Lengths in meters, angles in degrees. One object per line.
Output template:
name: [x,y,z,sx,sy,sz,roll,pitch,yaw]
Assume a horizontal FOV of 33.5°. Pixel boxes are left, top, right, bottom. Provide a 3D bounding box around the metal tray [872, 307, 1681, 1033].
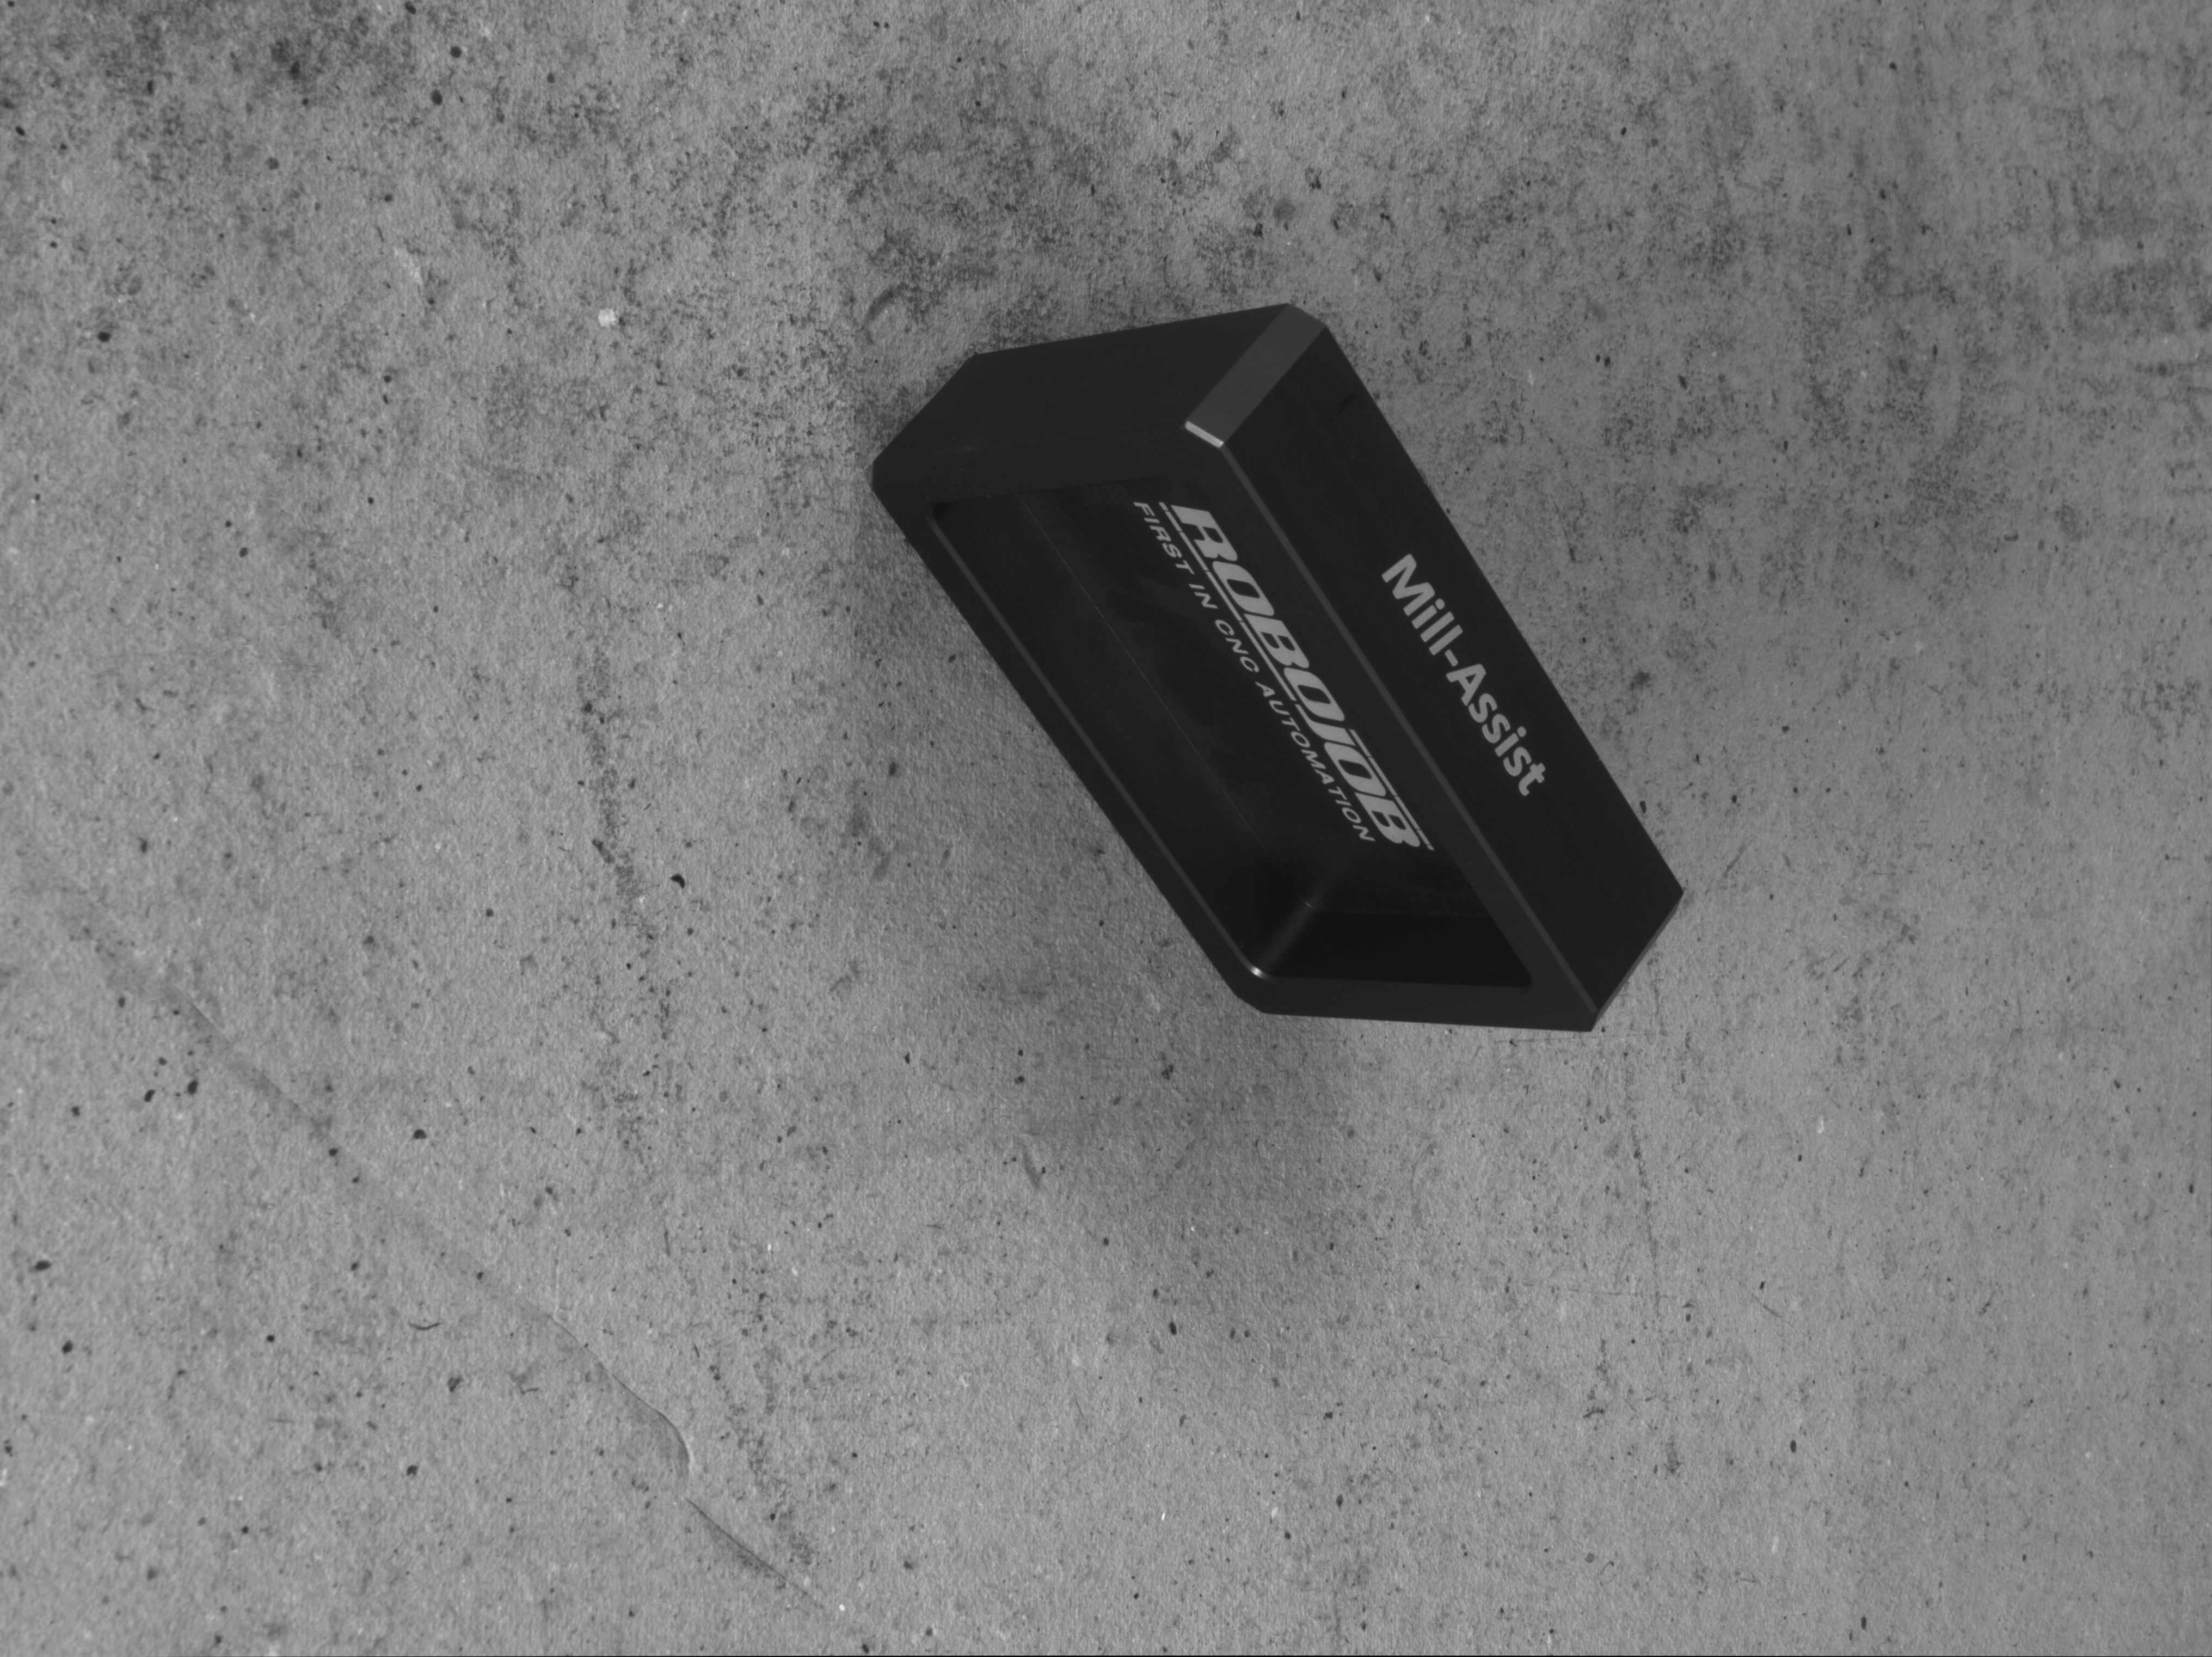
metal tray: [0.029,-0.023,0.618,0.030,0.090,0.130,-51,120,-28]
